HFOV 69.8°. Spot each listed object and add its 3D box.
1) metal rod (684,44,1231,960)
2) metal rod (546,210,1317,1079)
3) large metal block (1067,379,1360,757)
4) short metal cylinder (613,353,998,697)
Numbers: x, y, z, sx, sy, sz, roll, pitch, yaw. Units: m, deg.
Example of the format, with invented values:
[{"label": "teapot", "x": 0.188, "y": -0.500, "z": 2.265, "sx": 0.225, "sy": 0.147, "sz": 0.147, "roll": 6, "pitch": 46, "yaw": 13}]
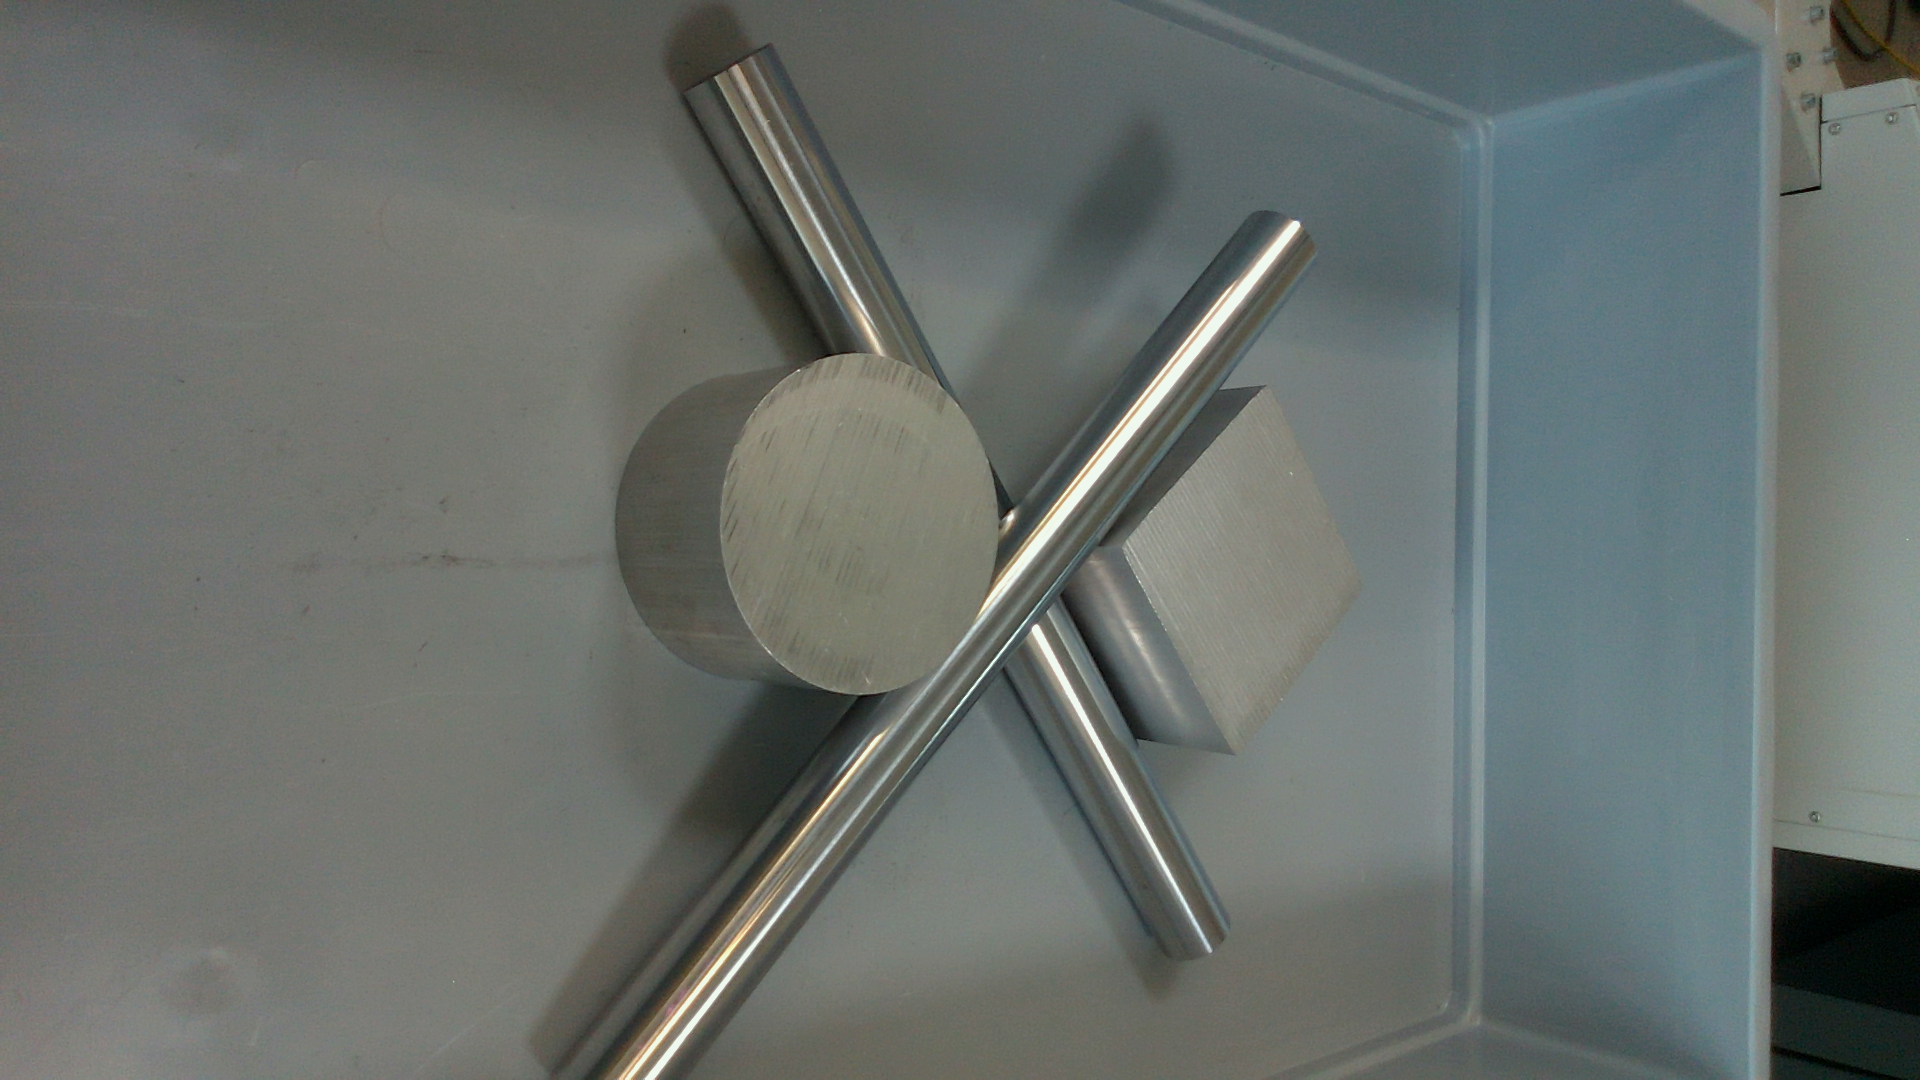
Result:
[{"label": "metal rod", "x": 0.010, "y": 0.006, "z": 0.394, "sx": 0.025, "sy": 0.025, "sz": 0.300, "roll": -43, "pitch": 116, "yaw": -31}, {"label": "metal rod", "x": 0.005, "y": 0.021, "z": 0.364, "sx": 0.301, "sy": 0.025, "sz": 0.025, "roll": -51, "pitch": 120, "yaw": -18}, {"label": "large metal block", "x": 0.070, "y": 0.008, "z": 0.428, "sx": 0.080, "sy": 0.050, "sz": 0.080, "roll": -46, "pitch": 117, "yaw": -30}, {"label": "short metal cylinder", "x": -0.037, "y": -0.004, "z": 0.340, "sx": 0.080, "sy": 0.050, "sz": 0.080, "roll": 0, "pitch": 90, "yaw": -40}]
